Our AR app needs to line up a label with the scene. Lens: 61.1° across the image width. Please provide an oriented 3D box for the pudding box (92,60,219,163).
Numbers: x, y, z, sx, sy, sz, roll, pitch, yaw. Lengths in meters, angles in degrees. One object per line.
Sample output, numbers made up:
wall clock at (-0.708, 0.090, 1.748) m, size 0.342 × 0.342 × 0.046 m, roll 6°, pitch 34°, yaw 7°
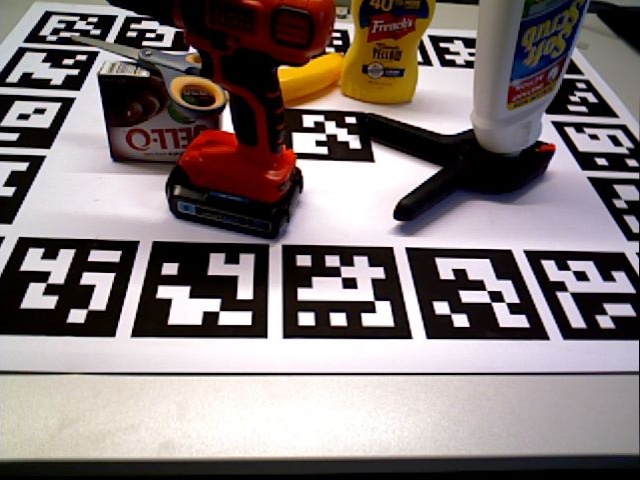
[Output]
pudding box at (-0.156, -0.124, 0.531) m, size 0.113 × 0.092 × 0.038 m, roll 5°, pitch 38°, yaw -3°

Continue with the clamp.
clamp at (0.156, -0.094, 0.556) m, size 0.201 × 0.037 × 0.163 m, roll -3°, pitch 48°, yaw -11°

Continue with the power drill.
power drill at (-0.084, -0.119, 0.423) m, size 0.184 × 0.191 × 0.056 m, roll 9°, pitch 38°, yaw 6°

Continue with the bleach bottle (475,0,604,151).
bleach bottle at (0.200, -0.179, 0.494) m, size 0.101 × 0.256 × 0.067 m, roll -17°, pitch 45°, yaw -13°

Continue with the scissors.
scissors at (-0.158, -0.175, 0.489) m, size 0.202 × 0.016 × 0.086 m, roll 22°, pitch 51°, yaw 8°

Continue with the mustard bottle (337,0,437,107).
mustard bottle at (0.079, -0.246, 0.615) m, size 0.096 × 0.196 × 0.057 m, roll 12°, pitch 45°, yaw 3°

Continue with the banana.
banana at (-0.035, -0.212, 0.662) m, size 0.193 × 0.039 × 0.074 m, roll -31°, pitch 39°, yaw -31°
